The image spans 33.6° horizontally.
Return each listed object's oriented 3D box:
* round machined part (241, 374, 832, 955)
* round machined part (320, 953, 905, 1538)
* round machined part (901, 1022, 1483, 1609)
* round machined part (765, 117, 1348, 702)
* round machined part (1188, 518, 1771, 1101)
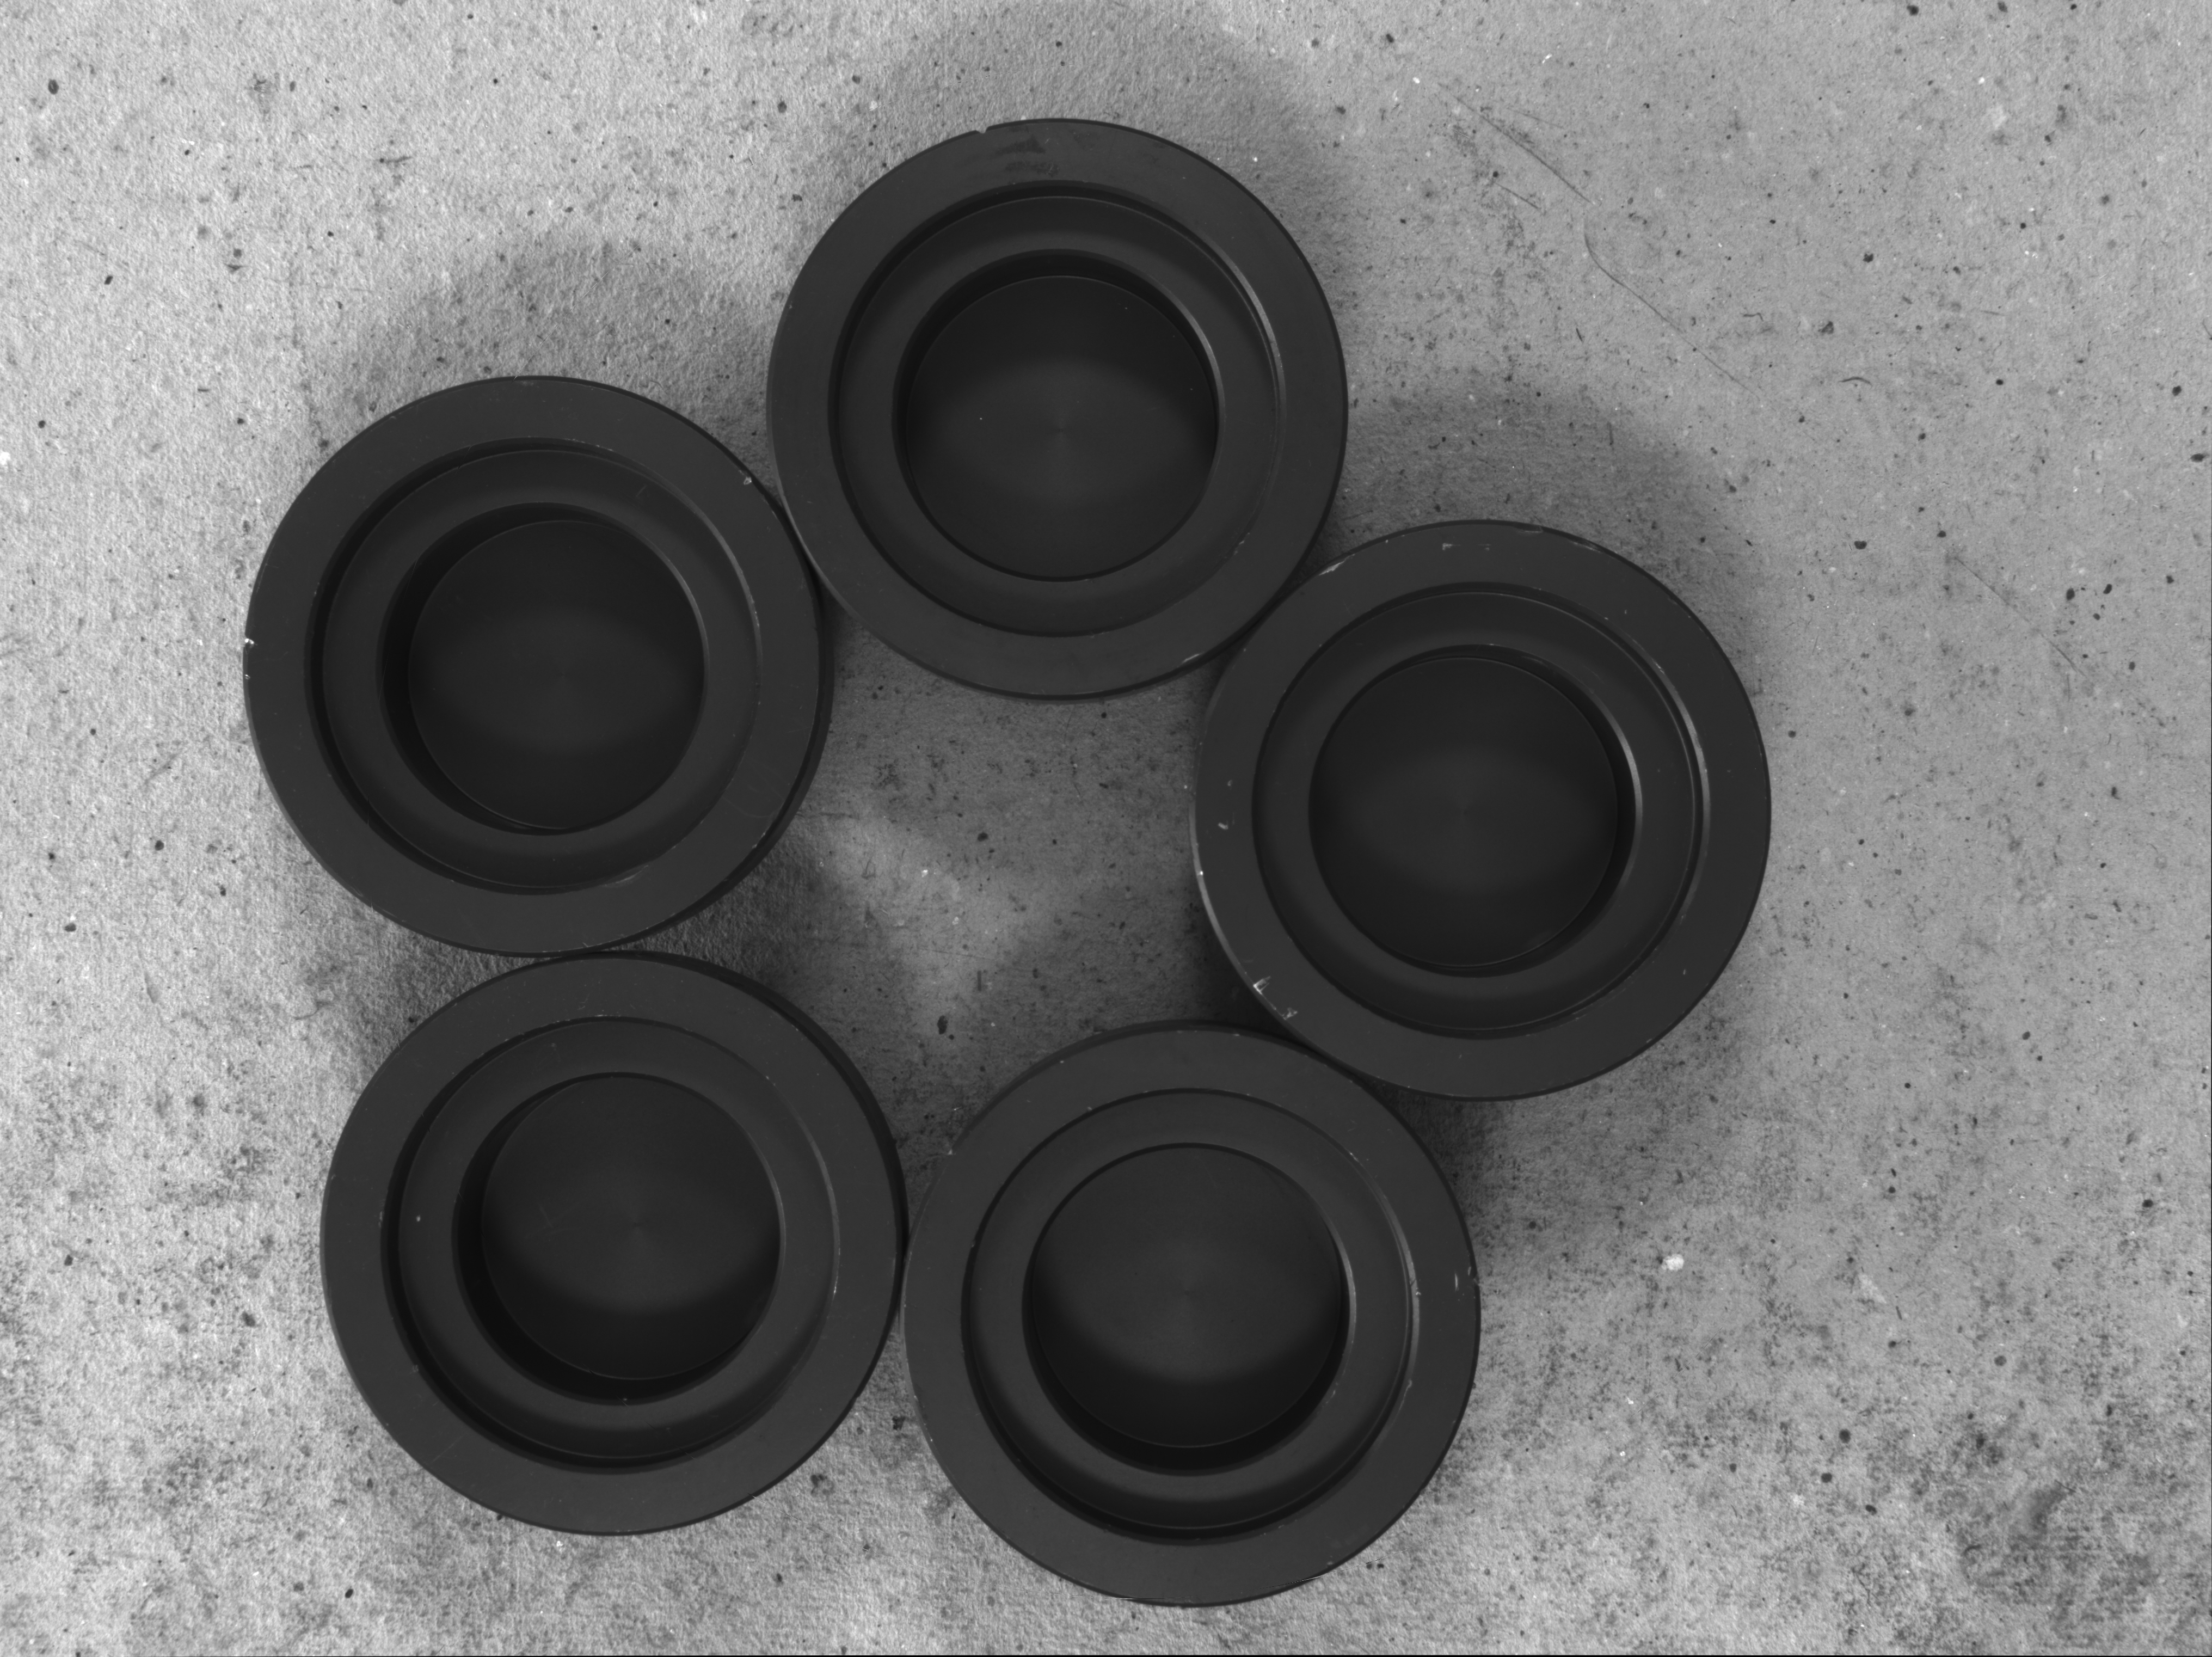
[{"bbox_3d":[-0.096,-0.027,0.637,0.098,0.042,0.098,0,88,0],"label":"round machined part"},{"bbox_3d":[-0.083,0.070,0.636,0.098,0.042,0.098,0,88,-1],"label":"round machined part"},{"bbox_3d":[0.014,0.082,0.637,0.098,0.042,0.098,0,89,-1],"label":"round machined part"},{"bbox_3d":[-0.008,-0.070,0.636,0.098,0.042,0.098,0,88,-1],"label":"round machined part"},{"bbox_3d":[0.063,-0.003,0.636,0.098,0.042,0.098,0,88,-1],"label":"round machined part"}]
